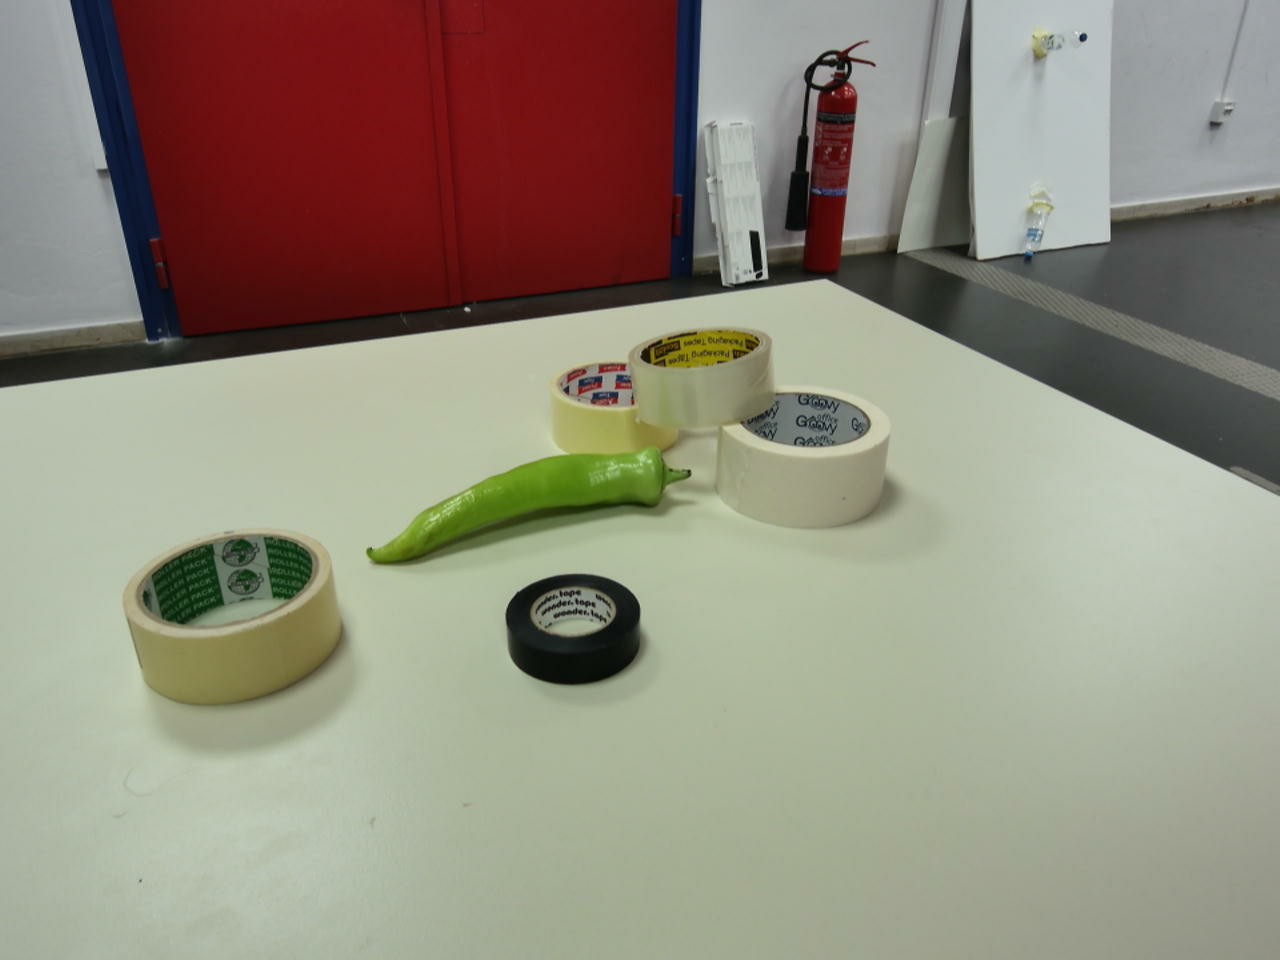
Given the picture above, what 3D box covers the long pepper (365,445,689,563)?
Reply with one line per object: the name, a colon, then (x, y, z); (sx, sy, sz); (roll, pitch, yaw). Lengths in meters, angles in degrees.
long pepper: (-0.065, 0.009, 0.589); (0.197, 0.038, 0.047); (-10, 28, -20)
